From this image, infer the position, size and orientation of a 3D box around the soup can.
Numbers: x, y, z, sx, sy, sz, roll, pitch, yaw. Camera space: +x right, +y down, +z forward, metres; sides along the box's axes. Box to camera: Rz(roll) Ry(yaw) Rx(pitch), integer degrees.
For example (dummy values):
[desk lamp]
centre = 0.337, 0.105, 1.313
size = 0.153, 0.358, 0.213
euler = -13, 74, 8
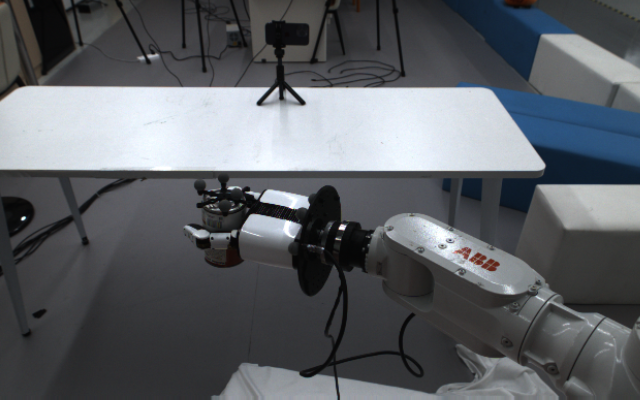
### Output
[soup can]
centre = -0.145, 0.045, 0.738
size = 0.067, 0.101, 0.067
euler = 4, 31, -2
